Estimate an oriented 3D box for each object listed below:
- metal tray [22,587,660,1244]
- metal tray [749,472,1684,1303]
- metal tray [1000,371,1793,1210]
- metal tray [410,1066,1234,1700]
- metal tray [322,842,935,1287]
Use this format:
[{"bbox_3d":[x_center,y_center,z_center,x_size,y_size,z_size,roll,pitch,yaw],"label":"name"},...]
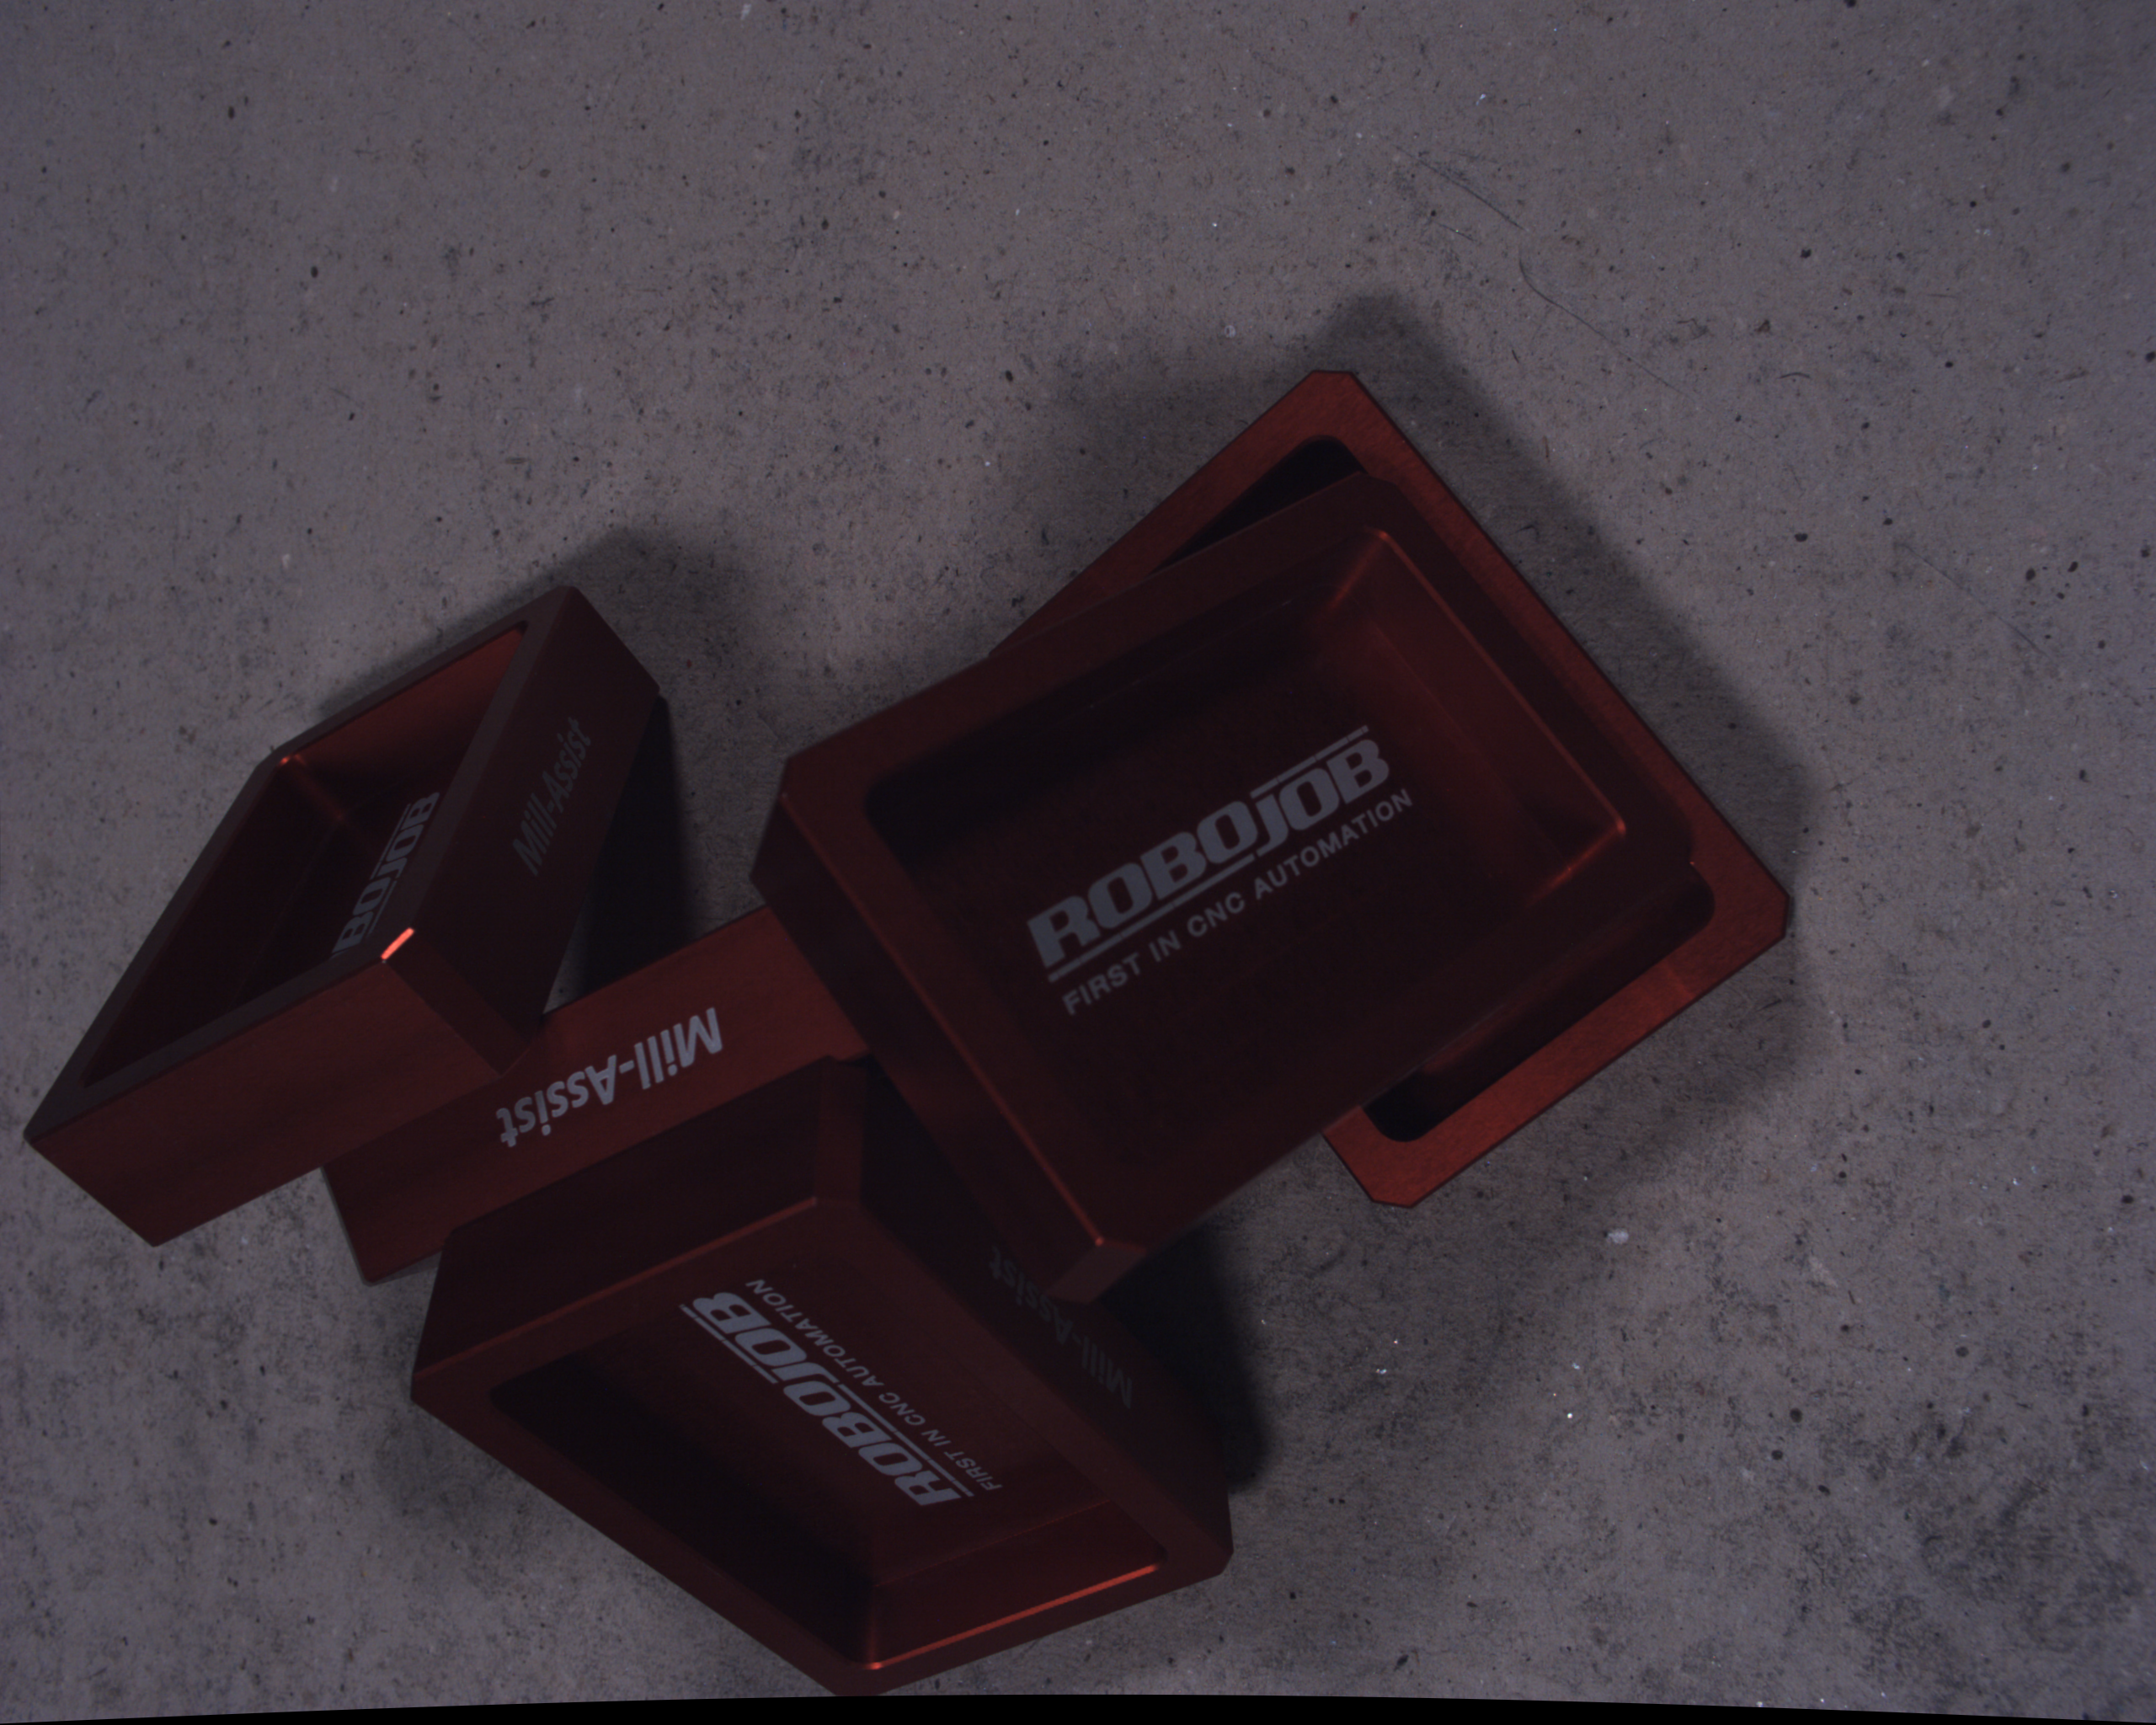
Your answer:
[{"bbox_3d":[-0.137,0.005,0.407,0.090,0.130,0.030,-25,120,18],"label":"metal tray"},{"bbox_3d":[0.025,-0.001,0.341,0.131,0.030,0.090,-30,77,-28],"label":"metal tray"},{"bbox_3d":[0.056,-0.014,0.387,0.090,0.030,0.130,-40,78,15],"label":"metal tray"},{"bbox_3d":[-0.041,0.100,0.377,0.090,0.130,0.030,-26,37,18],"label":"metal tray"},{"bbox_3d":[-0.065,0.037,0.397,0.130,0.090,0.030,-26,82,18],"label":"metal tray"}]
